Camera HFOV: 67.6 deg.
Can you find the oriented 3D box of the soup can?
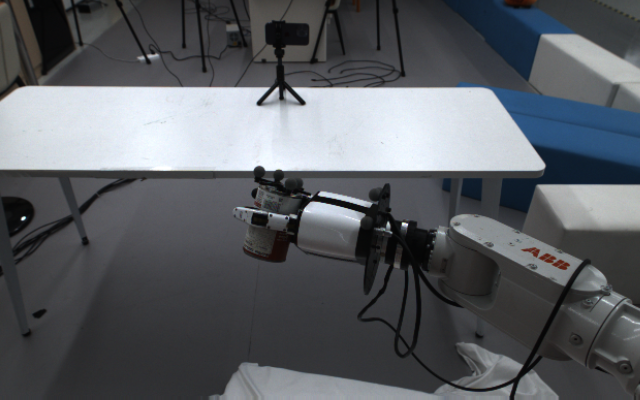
[{"bbox_3d":[-0.069,0.034,0.712,0.067,0.101,0.067,15,7,-2],"label":"soup can"}]
